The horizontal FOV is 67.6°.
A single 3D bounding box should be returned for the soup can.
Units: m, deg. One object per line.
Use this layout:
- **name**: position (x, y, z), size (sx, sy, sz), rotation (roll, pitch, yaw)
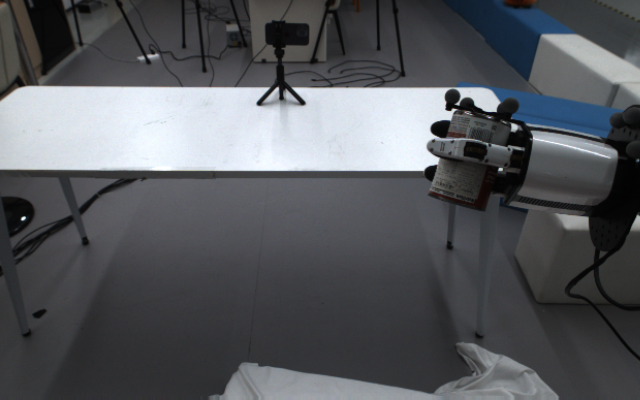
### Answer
- **soup can**: position (0.172, -0.048, 0.559), size (0.067, 0.101, 0.067), rotation (15, 6, -2)
